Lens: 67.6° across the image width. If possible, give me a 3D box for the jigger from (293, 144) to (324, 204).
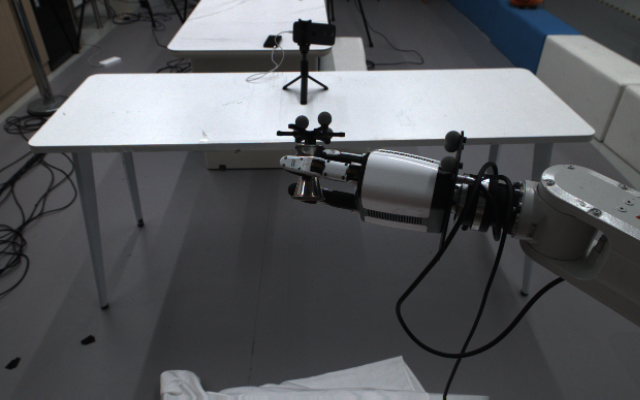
[{"bbox_3d":[-0.015,-0.036,0.627,0.043,0.071,0.043,2,-6,0],"label":"jigger"}]
